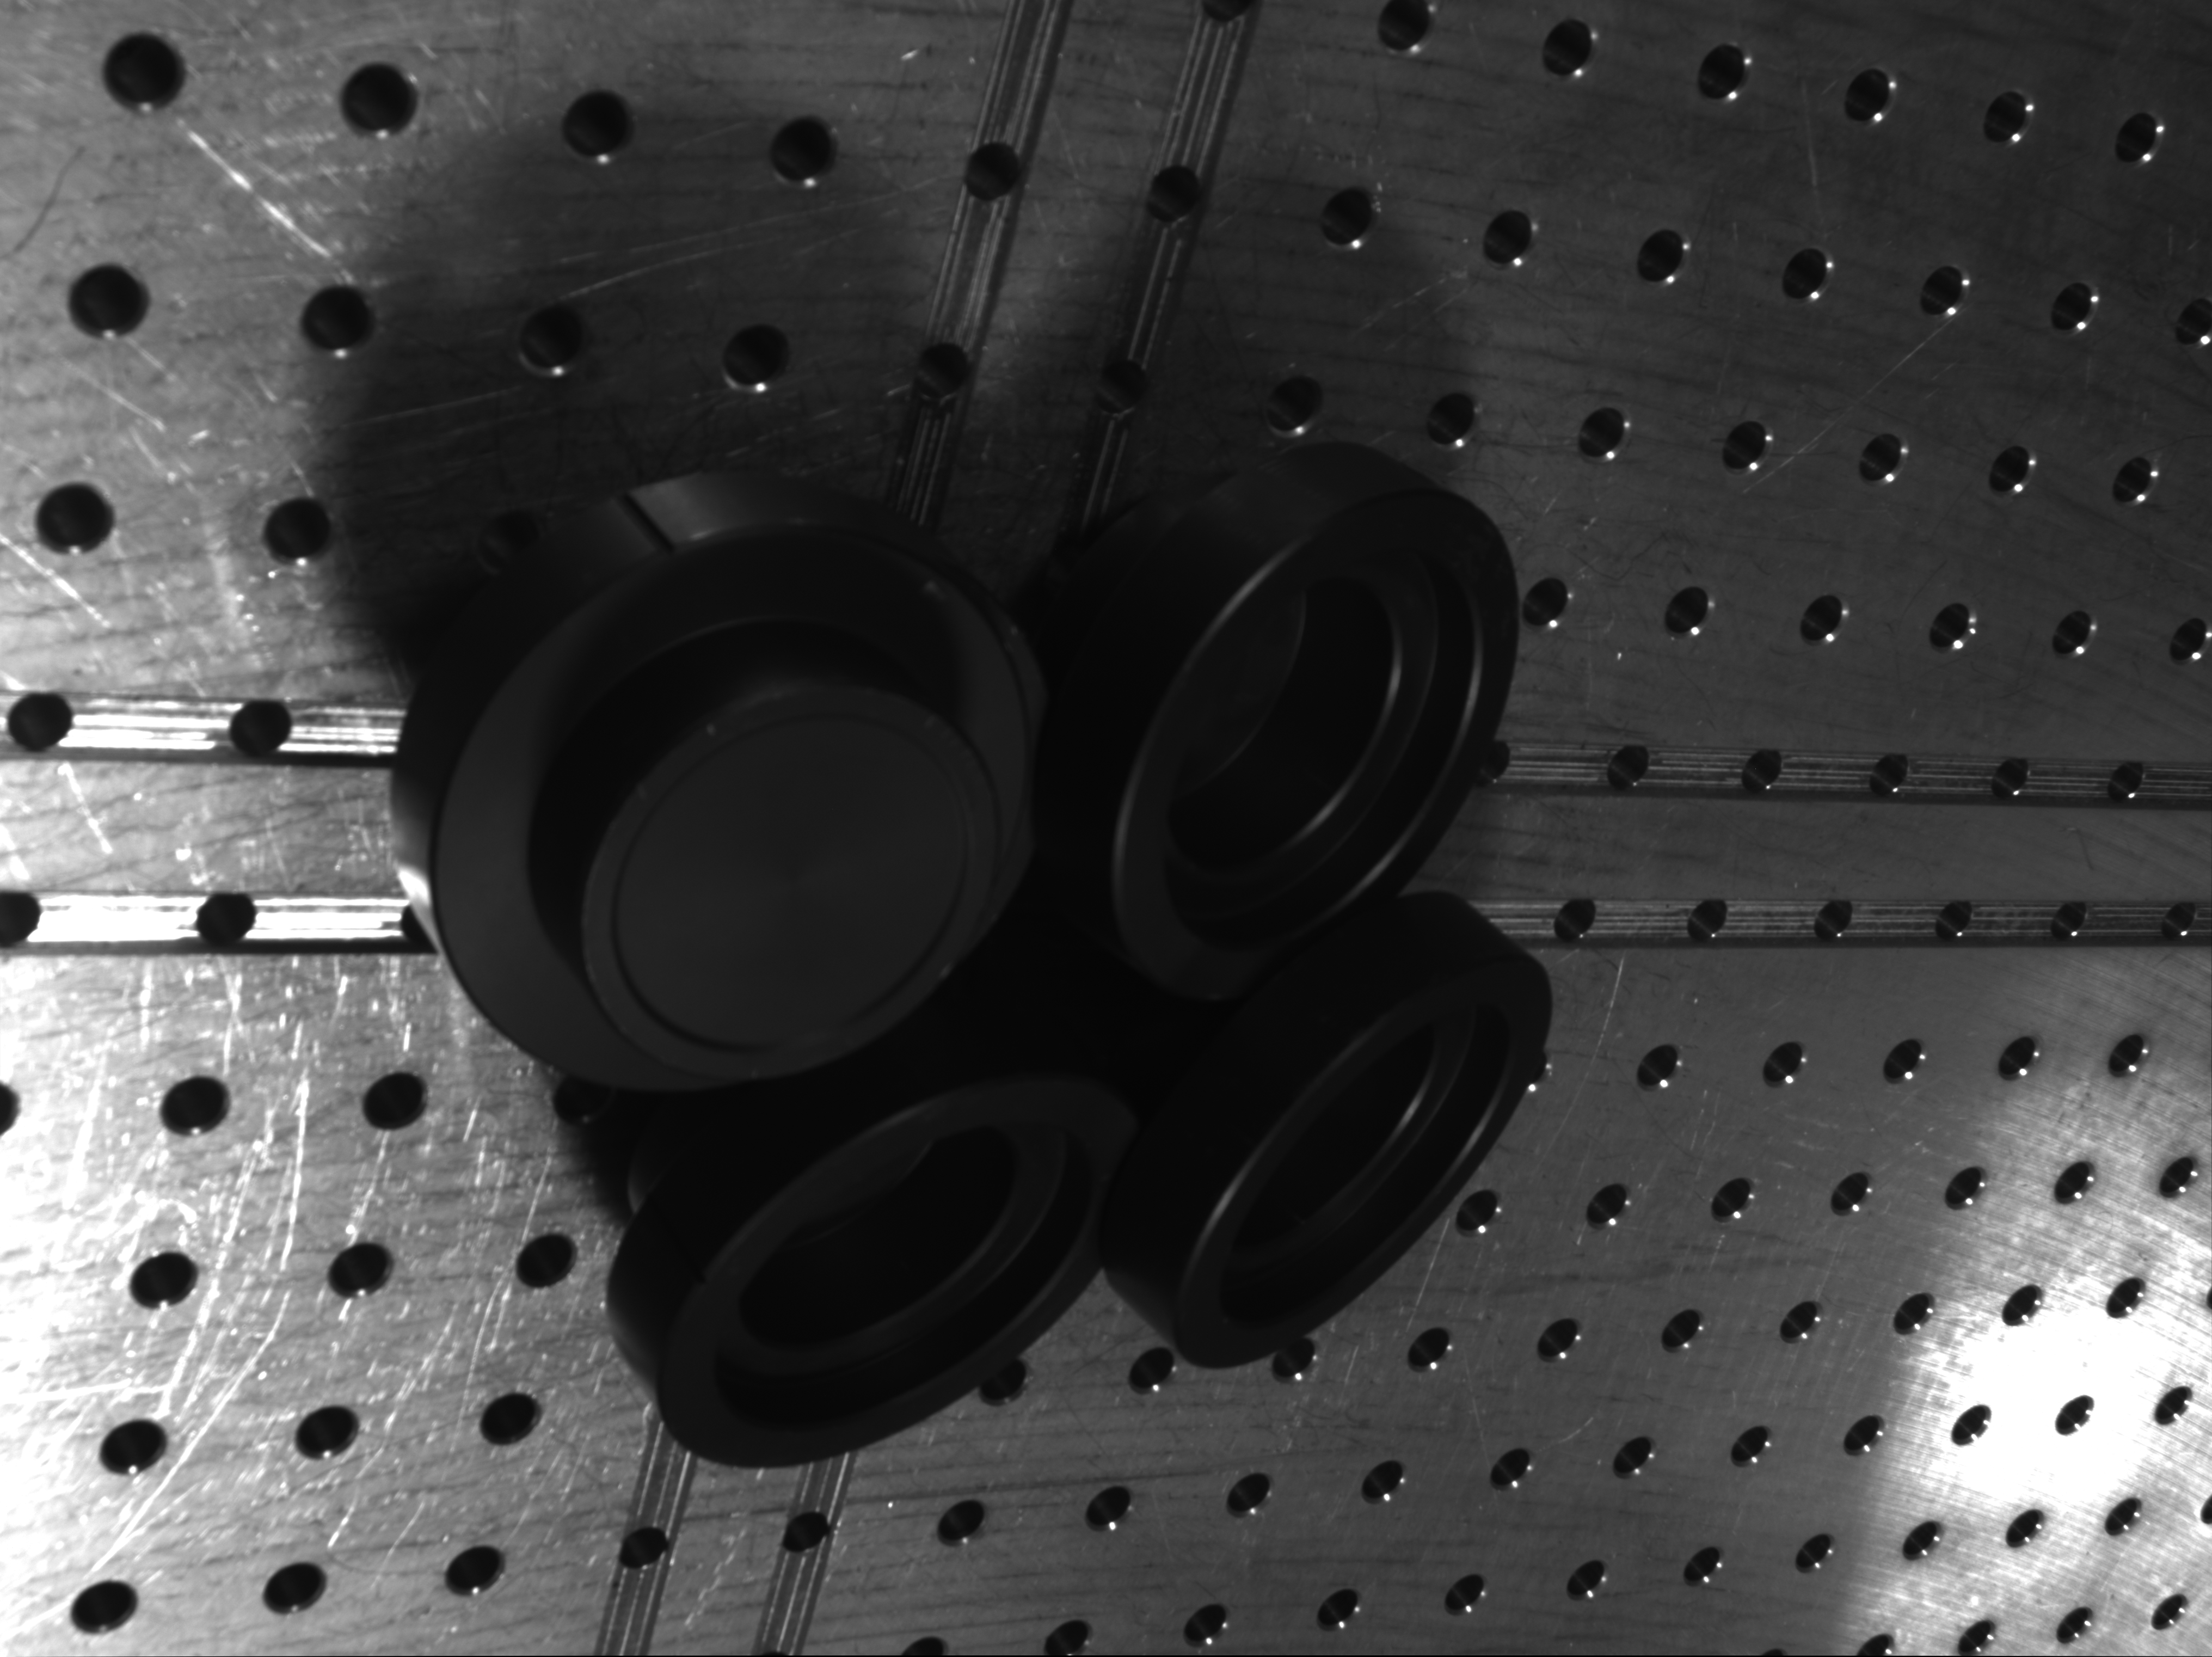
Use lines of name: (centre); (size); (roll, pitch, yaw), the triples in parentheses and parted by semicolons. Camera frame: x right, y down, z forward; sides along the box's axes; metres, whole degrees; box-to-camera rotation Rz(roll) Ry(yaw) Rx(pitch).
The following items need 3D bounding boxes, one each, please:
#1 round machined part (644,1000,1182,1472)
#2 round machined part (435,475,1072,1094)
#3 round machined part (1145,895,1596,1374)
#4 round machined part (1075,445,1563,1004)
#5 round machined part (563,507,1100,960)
round machined part: (-0.038, 0.066, 0.650); (0.098, 0.042, 0.098); (-25, 145, -19)
round machined part: (-0.049, -0.001, 0.558); (0.098, 0.042, 0.098); (-15, 125, -22)
round machined part: (0.043, 0.051, 0.684); (0.098, 0.042, 0.098); (-36, 150, -24)
round machined part: (0.031, -0.022, 0.635); (0.098, 0.042, 0.098); (-29, 137, -31)
round machined part: (-0.054, -0.011, 0.604); (0.098, 0.042, 0.098); (-15, 125, -22)
